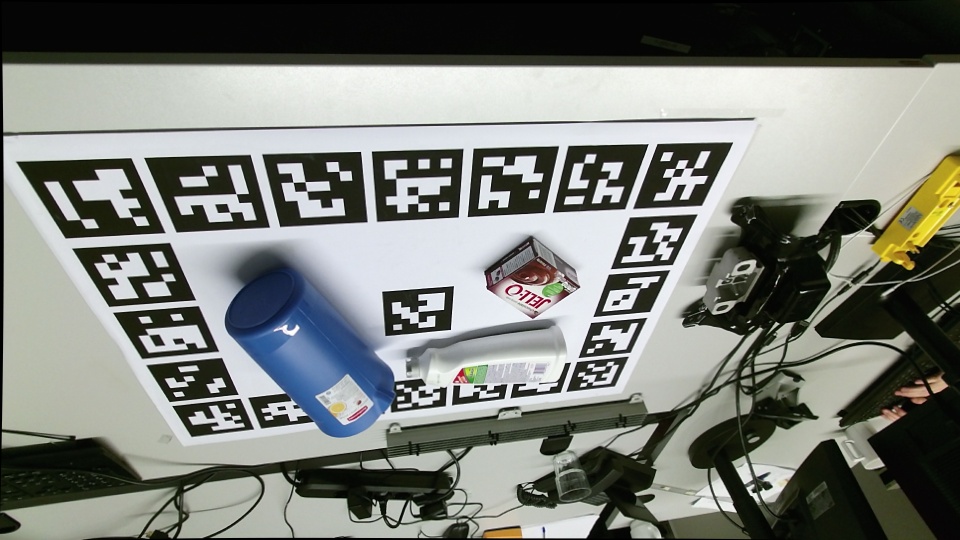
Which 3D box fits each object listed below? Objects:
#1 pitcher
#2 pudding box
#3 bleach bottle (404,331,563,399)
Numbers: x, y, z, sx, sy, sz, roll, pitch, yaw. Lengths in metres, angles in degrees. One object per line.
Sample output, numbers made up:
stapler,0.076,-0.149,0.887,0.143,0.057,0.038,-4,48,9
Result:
pitcher,-0.244,0.118,0.742,0.189,0.133,0.243,3,138,32
pudding box,0.071,0.027,0.767,0.090,0.038,0.114,-33,131,25
bleach bottle,0.003,0.163,0.871,0.252,0.067,0.102,-6,130,-6
